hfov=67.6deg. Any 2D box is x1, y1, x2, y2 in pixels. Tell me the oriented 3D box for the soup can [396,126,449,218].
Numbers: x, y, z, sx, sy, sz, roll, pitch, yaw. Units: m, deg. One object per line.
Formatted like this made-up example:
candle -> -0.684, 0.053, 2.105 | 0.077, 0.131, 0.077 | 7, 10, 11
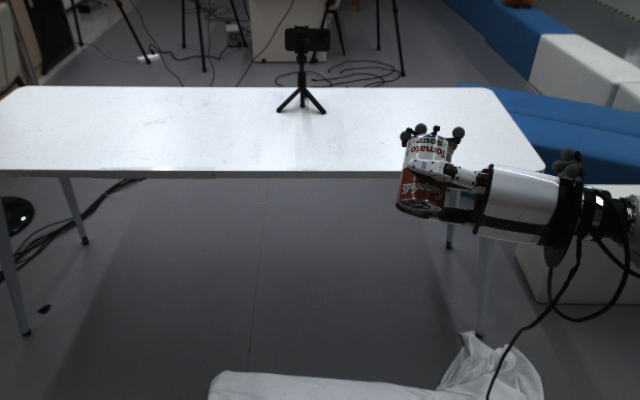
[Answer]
soup can -> 0.150, -0.036, 0.690 | 0.067, 0.067, 0.101 | 9, 72, 10
